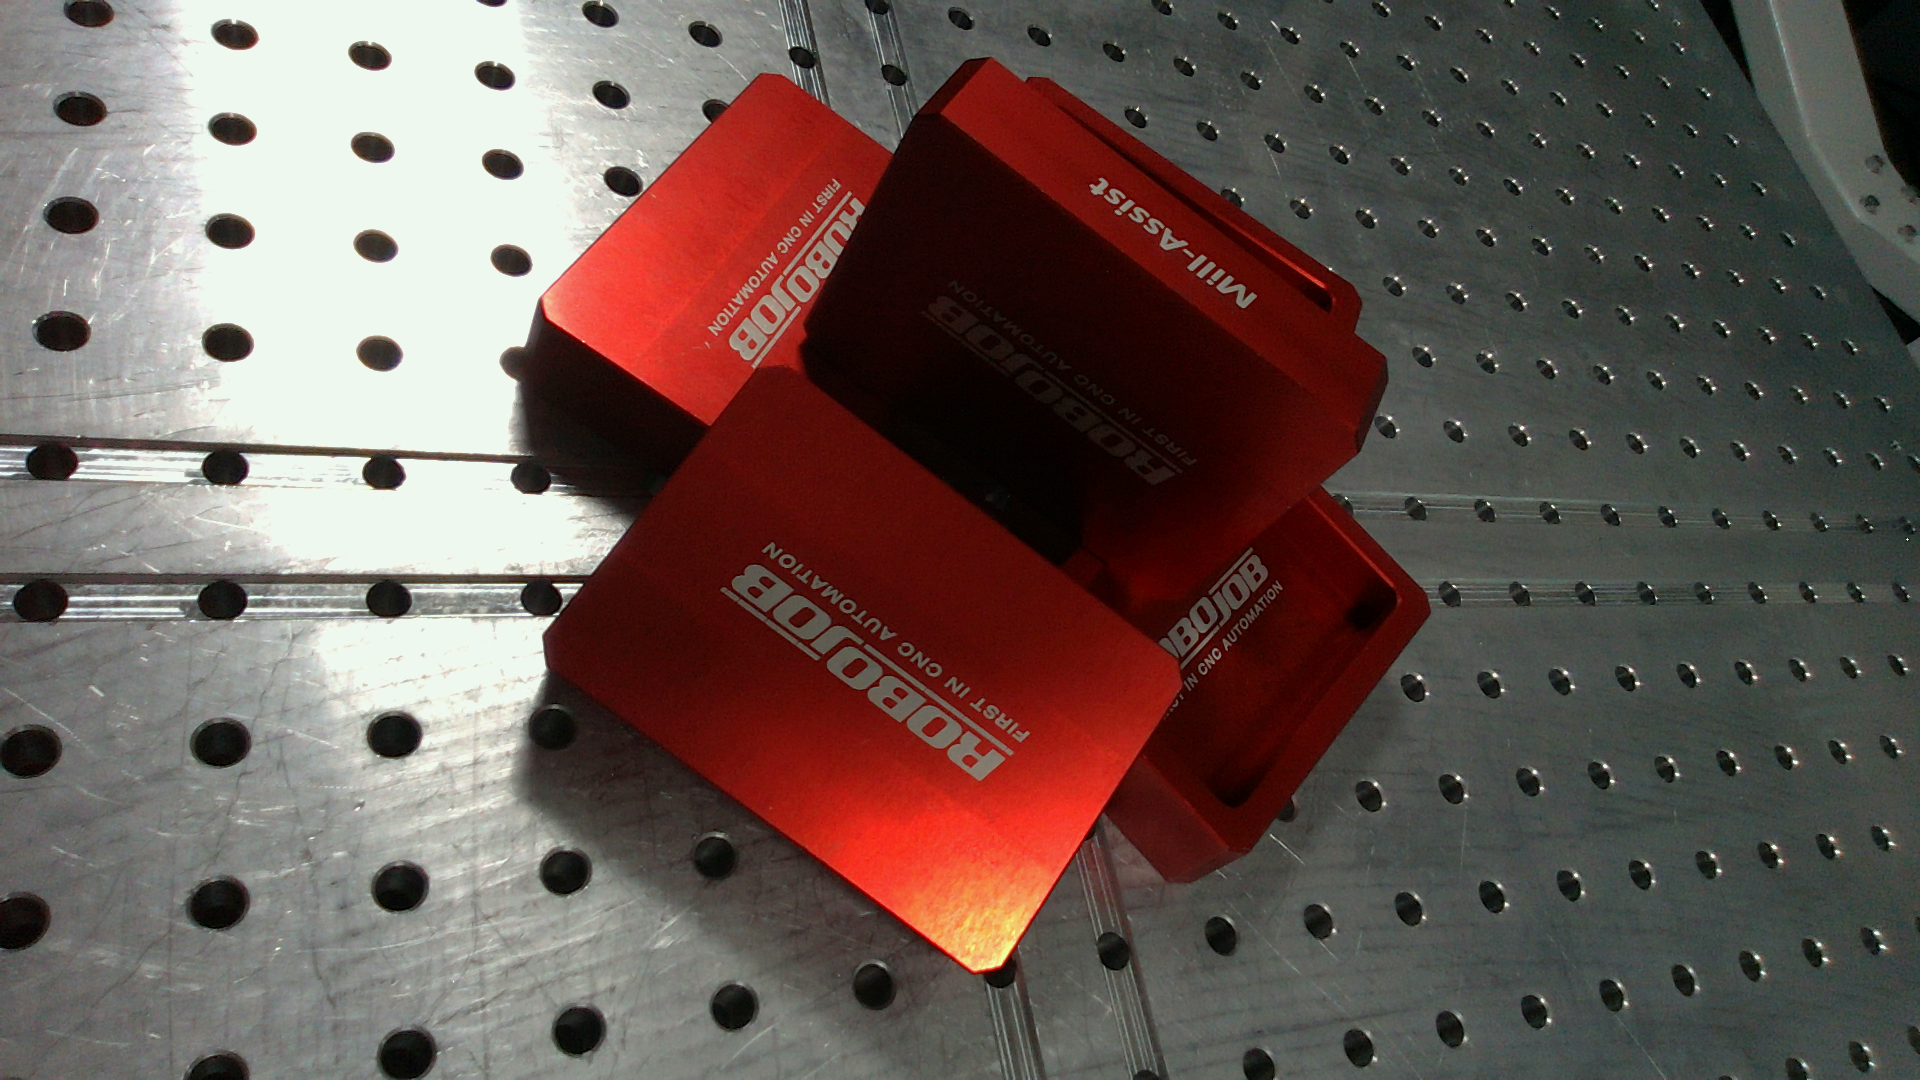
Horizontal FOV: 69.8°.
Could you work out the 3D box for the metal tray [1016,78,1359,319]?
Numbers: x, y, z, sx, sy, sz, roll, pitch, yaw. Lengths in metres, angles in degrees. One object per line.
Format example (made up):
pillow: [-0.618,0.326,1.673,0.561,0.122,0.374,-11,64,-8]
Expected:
metal tray: [0.056,-0.076,0.427,0.130,0.030,0.090,32,51,-8]

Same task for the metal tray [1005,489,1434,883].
metal tray: [0.077,0.027,0.413,0.090,0.030,0.130,47,51,5]

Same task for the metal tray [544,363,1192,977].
metal tray: [-0.021,0.031,0.335,0.130,0.030,0.090,37,76,-4]

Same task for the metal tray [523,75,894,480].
metal tray: [-0.053,-0.071,0.403,0.090,0.030,0.130,34,51,-6]

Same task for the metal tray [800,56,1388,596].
metal tray: [0.032,-0.050,0.359,0.130,0.090,0.030,35,51,-5]
